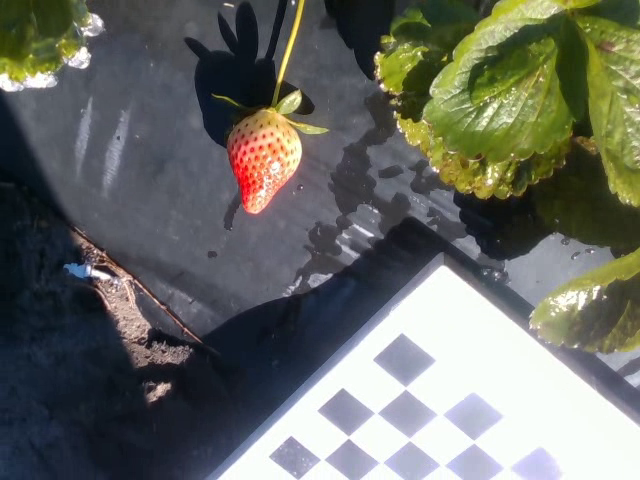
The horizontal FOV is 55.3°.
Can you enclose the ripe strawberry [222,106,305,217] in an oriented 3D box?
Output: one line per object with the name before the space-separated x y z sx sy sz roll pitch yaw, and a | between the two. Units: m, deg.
ripe strawberry | -0.025 -0.035 0.279 0.039 0.053 0.041 20 7 4
